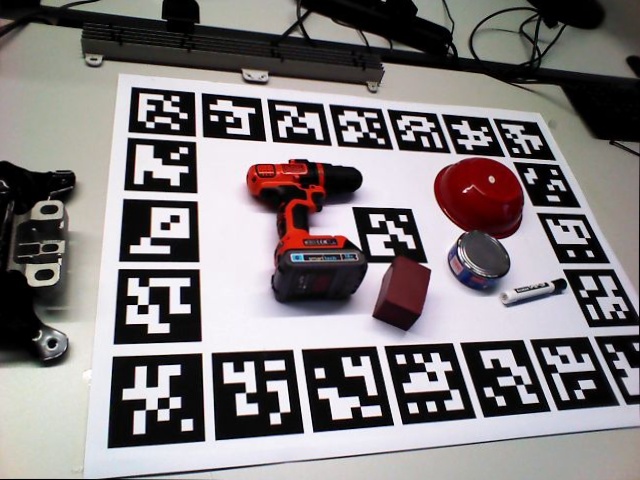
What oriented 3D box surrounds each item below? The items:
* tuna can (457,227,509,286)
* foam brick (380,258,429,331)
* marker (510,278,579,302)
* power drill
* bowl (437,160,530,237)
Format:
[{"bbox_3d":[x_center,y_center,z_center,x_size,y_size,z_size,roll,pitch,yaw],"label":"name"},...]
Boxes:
[{"bbox_3d":[0.250,0.025,0.770,0.086,0.034,0.085,9,54,-13],"label":"tuna can"},{"bbox_3d":[0.120,0.073,0.698,0.051,0.053,0.077,21,55,-3],"label":"foam brick"},{"bbox_3d":[0.338,0.073,0.771,0.121,0.020,0.019,-8,61,-21],"label":"marker"},{"bbox_3d":[-0.006,-0.024,0.723,0.184,0.058,0.186,1,54,-19],"label":"power drill"},{"bbox_3d":[0.279,-0.082,0.852,0.162,0.055,0.160,6,49,-7],"label":"bowl"}]
